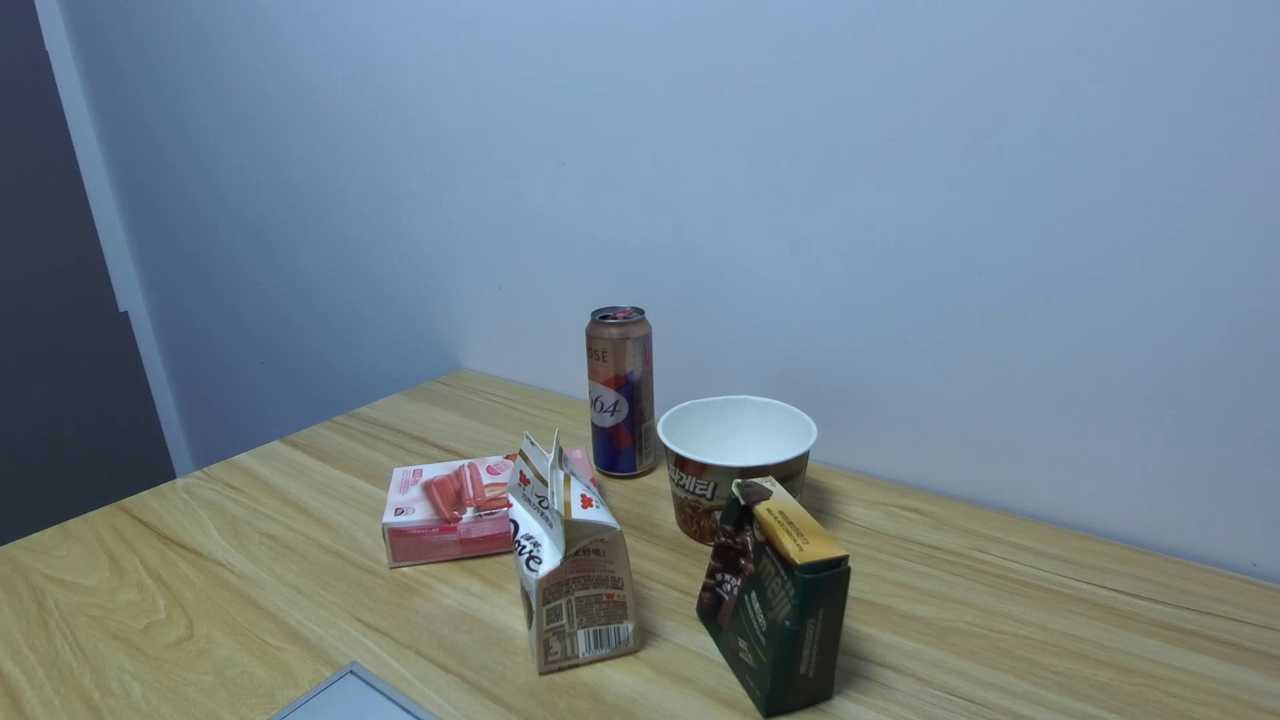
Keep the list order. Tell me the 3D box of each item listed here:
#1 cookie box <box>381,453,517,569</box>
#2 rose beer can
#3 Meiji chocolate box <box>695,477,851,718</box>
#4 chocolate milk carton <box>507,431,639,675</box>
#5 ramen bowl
[{"bbox_3d":[-0.135,0.132,0.645,0.188,0.049,0.105,-6,19,-10],"label":"cookie box"},{"bbox_3d":[-0.019,0.034,0.725,0.068,0.169,0.068,-1,20,1],"label":"rose beer can"},{"bbox_3d":[0.088,0.151,0.471,0.052,0.117,0.117,-1,19,-20],"label":"Meiji chocolate box"},{"bbox_3d":[-0.049,0.126,0.489,0.074,0.156,0.076,-10,23,-14],"label":"chocolate milk carton"},{"bbox_3d":[0.085,0.101,0.634,0.140,0.095,0.140,-1,20,1],"label":"ramen bowl"}]
